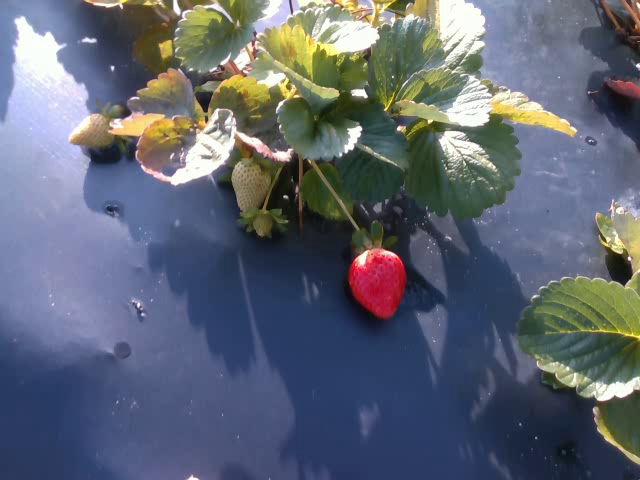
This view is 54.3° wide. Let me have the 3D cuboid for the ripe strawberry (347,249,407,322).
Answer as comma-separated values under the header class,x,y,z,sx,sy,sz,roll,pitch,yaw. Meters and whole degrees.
class,x,y,z,sx,sy,sz,roll,pitch,yaw
ripe strawberry,0.031,0.024,0.306,0.030,0.045,0.033,-18,-34,26
